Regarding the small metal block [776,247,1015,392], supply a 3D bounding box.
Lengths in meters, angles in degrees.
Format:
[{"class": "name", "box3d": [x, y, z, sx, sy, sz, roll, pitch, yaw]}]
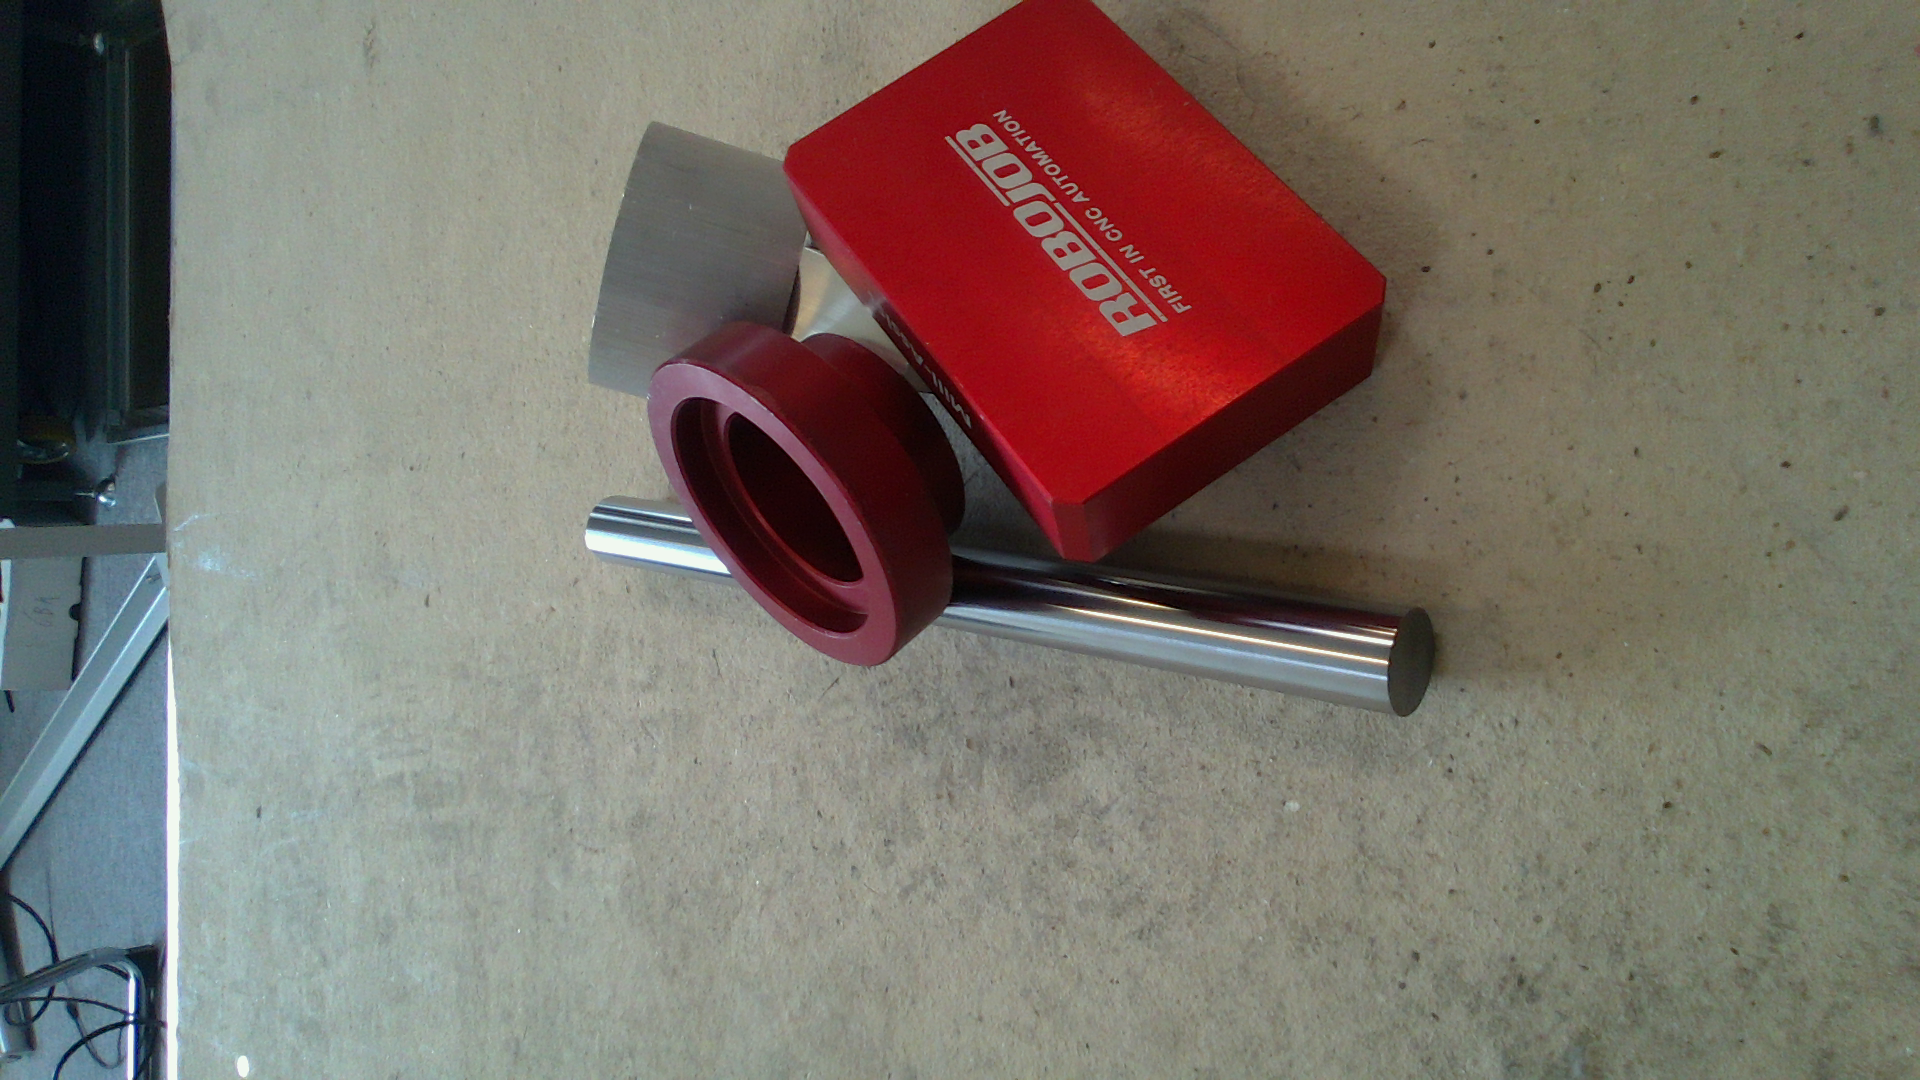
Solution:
[{"class": "small metal block", "box3d": [-0.015, -0.060, 0.389, 0.050, 0.050, 0.025, 30, 109, 36]}]

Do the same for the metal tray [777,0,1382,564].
[{"class": "metal tray", "box3d": [0.026, -0.069, 0.337, 0.090, 0.030, 0.130, -34, 63, -7]}]

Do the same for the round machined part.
[{"class": "round machined part", "box3d": [-0.037, -0.017, 0.375, 0.098, 0.042, 0.098, 35, 148, 26]}]

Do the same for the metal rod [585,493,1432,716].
[{"class": "metal rod", "box3d": [-0.012, 0.011, 0.406, 0.299, 0.025, 0.025, 8, 95, 40]}]

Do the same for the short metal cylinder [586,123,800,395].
[{"class": "short metal cylinder", "box3d": [-0.078, -0.080, 0.418, 0.080, 0.050, 0.080, -165, 90, -80]}]
